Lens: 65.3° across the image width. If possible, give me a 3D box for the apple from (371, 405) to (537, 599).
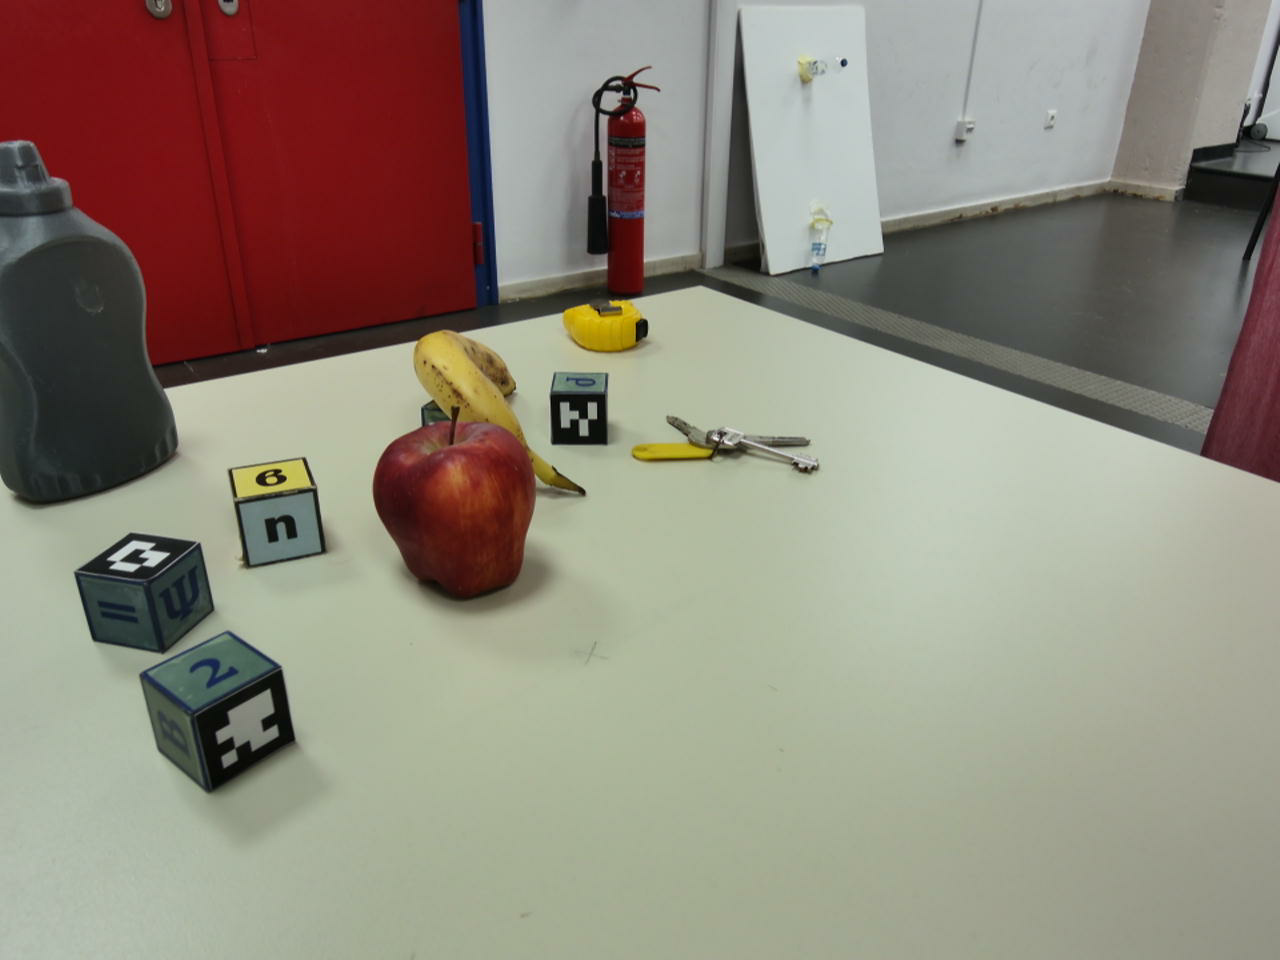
[{"bbox_3d":[-0.091,0.008,0.489,0.083,0.090,0.083,0,25,0],"label":"apple"}]
